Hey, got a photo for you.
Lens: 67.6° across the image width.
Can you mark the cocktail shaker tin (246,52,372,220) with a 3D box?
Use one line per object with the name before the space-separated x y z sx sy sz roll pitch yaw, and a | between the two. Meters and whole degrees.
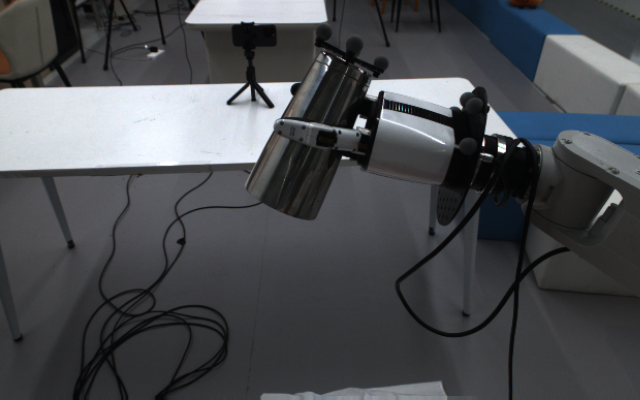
cocktail shaker tin | -0.006 -0.076 0.545 0.093 0.170 0.093 24 12 -6
